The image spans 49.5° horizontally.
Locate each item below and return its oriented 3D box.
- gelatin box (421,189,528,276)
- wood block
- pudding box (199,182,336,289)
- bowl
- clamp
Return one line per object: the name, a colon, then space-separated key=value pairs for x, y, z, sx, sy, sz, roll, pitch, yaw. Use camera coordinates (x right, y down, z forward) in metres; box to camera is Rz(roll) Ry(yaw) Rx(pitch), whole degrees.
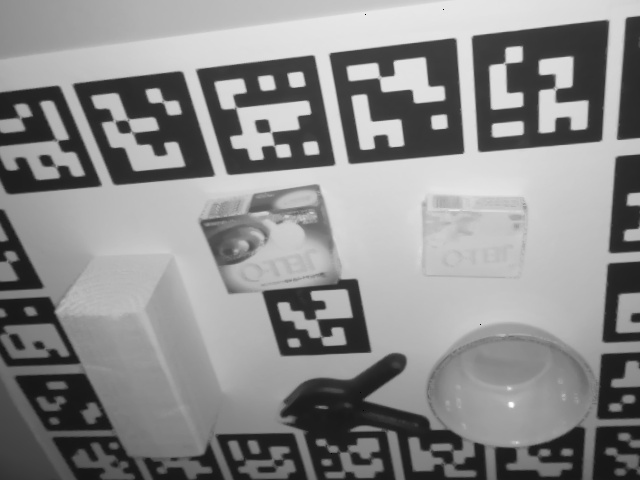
gelatin box: x=0.138 y=-0.006 z=0.629 sx=0.089 sy=0.030 sz=0.072 roll=3 pitch=121 yaw=6
wood block: x=-0.187 y=0.118 z=0.718 sx=0.089 sy=0.092 sz=0.205 roll=-1 pitch=122 yaw=11
pudding box: x=-0.047 y=-0.004 z=0.653 sx=0.113 sy=0.039 sz=0.089 roll=-6 pitch=117 yaw=9
bowl: x=0.189 y=0.139 z=0.707 sx=0.161 sy=0.056 sz=0.160 roll=4 pitch=120 yaw=7
clamp: x=0.039 y=0.178 z=0.766 sx=0.164 sy=0.037 sz=0.121 roll=-13 pitch=120 yaw=18
